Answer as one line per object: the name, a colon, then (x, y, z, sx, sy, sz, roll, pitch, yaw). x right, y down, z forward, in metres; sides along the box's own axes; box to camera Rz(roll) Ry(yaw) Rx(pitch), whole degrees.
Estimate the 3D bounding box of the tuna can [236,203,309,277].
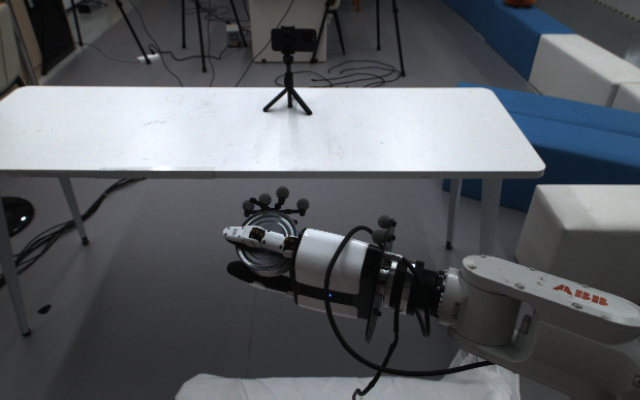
tuna can: (-0.067, 0.059, 0.648, 0.085, 0.034, 0.085, -6, 60, 10)
